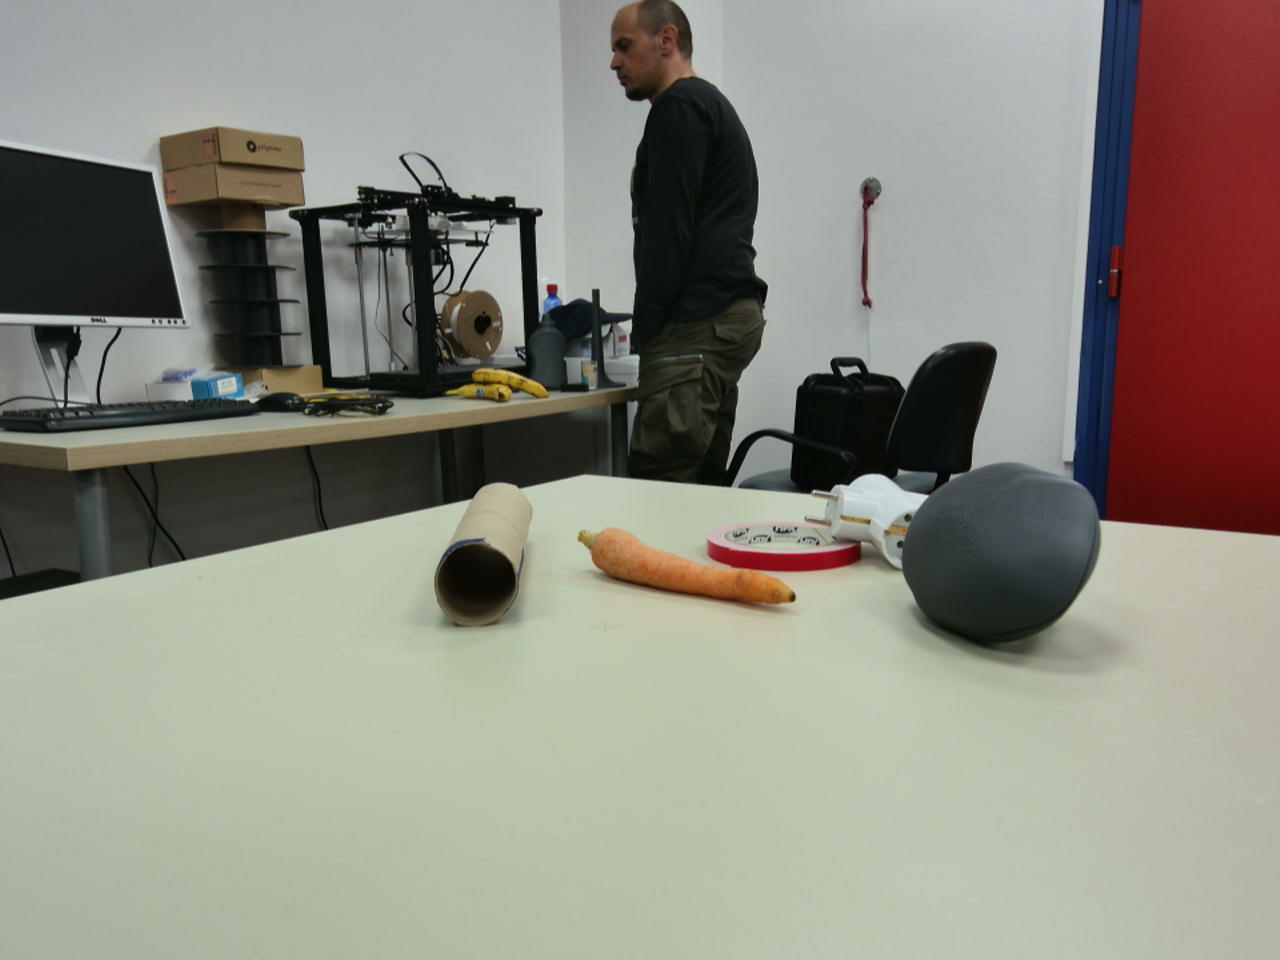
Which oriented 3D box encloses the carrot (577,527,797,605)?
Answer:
[{"bbox_3d":[0.024,0.053,0.623,0.173,0.032,0.030,7,9,44],"label":"carrot"}]
